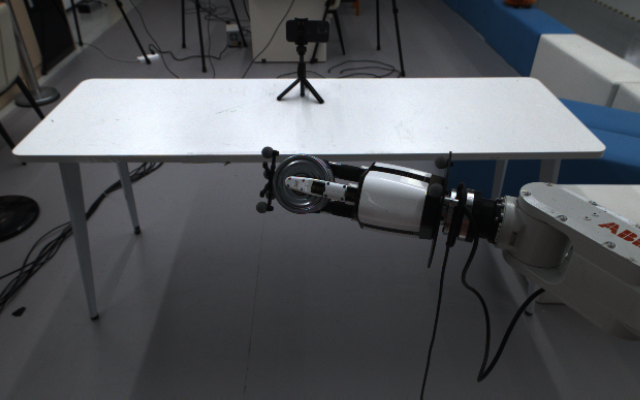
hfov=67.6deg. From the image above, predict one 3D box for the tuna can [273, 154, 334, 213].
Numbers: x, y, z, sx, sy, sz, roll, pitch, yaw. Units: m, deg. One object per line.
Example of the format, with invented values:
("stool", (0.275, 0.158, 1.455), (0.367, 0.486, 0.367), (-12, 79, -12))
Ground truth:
("tuna can", (-0.023, -0.024, 0.688), (0.085, 0.085, 0.034), (10, 2, 12))
